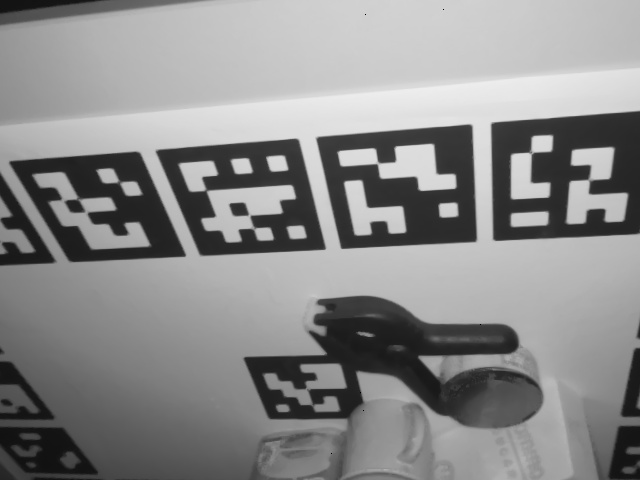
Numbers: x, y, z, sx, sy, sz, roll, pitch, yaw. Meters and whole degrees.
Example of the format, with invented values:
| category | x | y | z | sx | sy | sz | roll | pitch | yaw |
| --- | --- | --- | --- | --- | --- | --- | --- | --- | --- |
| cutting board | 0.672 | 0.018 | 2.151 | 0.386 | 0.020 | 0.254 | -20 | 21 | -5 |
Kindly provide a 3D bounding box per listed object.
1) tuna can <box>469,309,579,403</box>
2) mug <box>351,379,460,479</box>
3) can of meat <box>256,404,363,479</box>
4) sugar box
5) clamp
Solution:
| category | x | y | z | sx | sy | sz | roll | pitch | yaw |
| --- | --- | --- | --- | --- | --- | --- | --- | --- | --- |
| tuna can | 0.166 | 0.093 | 0.571 | 0.085 | 0.034 | 0.085 | 3 | 127 | 5 |
| mug | 0.081 | 0.170 | 0.611 | 0.093 | 0.082 | 0.115 | 17 | 127 | -5 |
| can of meat | -0.007 | 0.210 | 0.664 | 0.101 | 0.084 | 0.057 | -9 | 128 | 17 |
| sugar box | 0.175 | 0.175 | 0.606 | 0.045 | 0.094 | 0.173 | 38 | 126 | -22 |
| clamp | 0.081 | 0.051 | 0.555 | 0.166 | 0.037 | 0.120 | 27 | 132 | -8 |
